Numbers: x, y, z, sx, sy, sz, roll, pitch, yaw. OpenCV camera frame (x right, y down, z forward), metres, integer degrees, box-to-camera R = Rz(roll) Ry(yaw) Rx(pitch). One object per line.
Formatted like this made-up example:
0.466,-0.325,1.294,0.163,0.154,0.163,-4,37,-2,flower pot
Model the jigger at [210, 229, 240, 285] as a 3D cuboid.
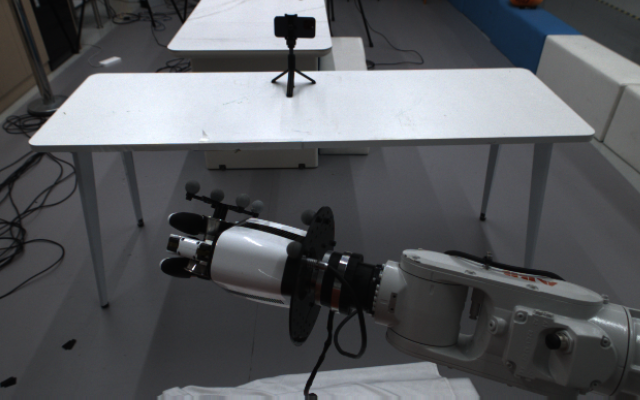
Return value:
-0.128,0.055,0.580,0.043,0.071,0.043,15,-7,2,jigger
